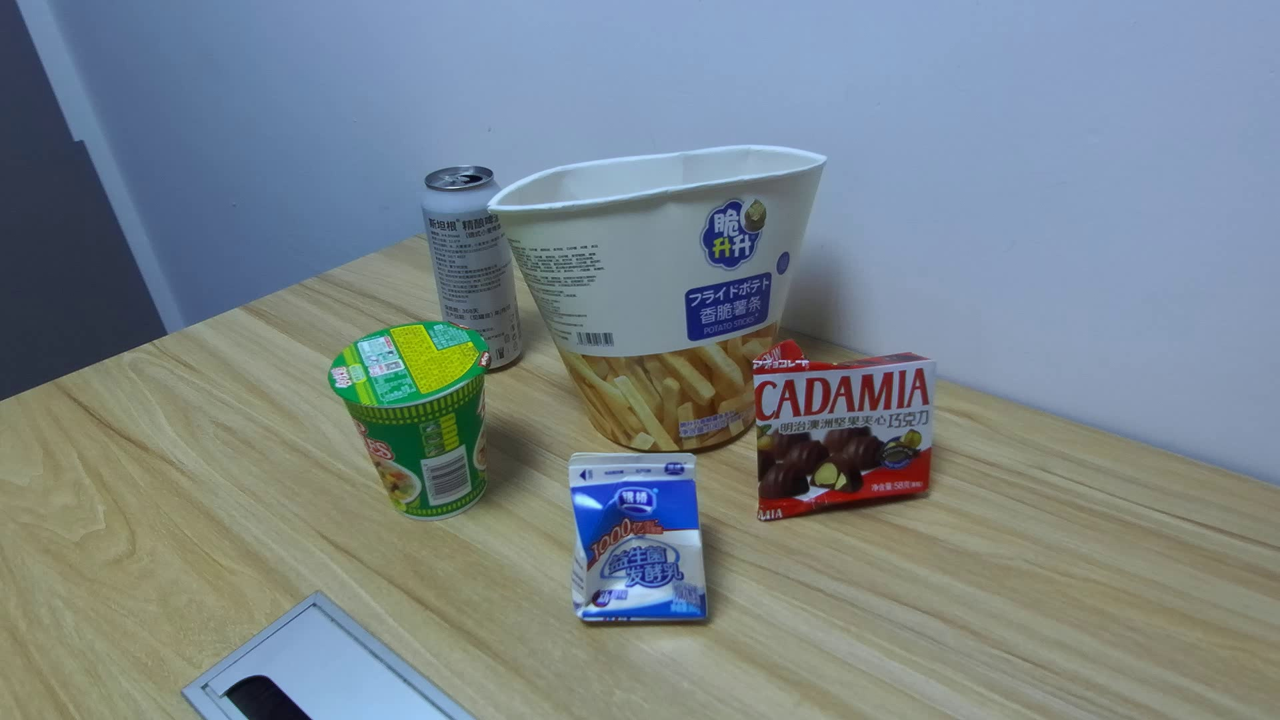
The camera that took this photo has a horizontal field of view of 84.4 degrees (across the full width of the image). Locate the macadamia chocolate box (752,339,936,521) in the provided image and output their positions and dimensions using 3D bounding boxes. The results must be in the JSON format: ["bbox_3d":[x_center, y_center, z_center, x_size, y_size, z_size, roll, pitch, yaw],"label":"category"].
[{"bbox_3d":[0.132,0.041,0.466,0.126,0.112,0.056,-5,32,-6],"label":"macadamia chocolate box"}]

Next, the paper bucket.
[{"bbox_3d":[0.022,-0.050,0.529,0.147,0.199,0.218,24,40,35],"label":"paper bucket"}]

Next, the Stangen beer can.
[{"bbox_3d":[-0.141,-0.075,0.604,0.067,0.171,0.067,-1,32,1],"label":"Stangen beer can"}]

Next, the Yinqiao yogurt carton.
[{"bbox_3d":[-0.001,0.092,0.409,0.077,0.094,0.071,-1,26,1],"label":"Yinqiao yogurt carton"}]

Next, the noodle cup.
[{"bbox_3d":[-0.144,0.046,0.475,0.097,0.110,0.097,-1,31,1],"label":"noodle cup"}]
